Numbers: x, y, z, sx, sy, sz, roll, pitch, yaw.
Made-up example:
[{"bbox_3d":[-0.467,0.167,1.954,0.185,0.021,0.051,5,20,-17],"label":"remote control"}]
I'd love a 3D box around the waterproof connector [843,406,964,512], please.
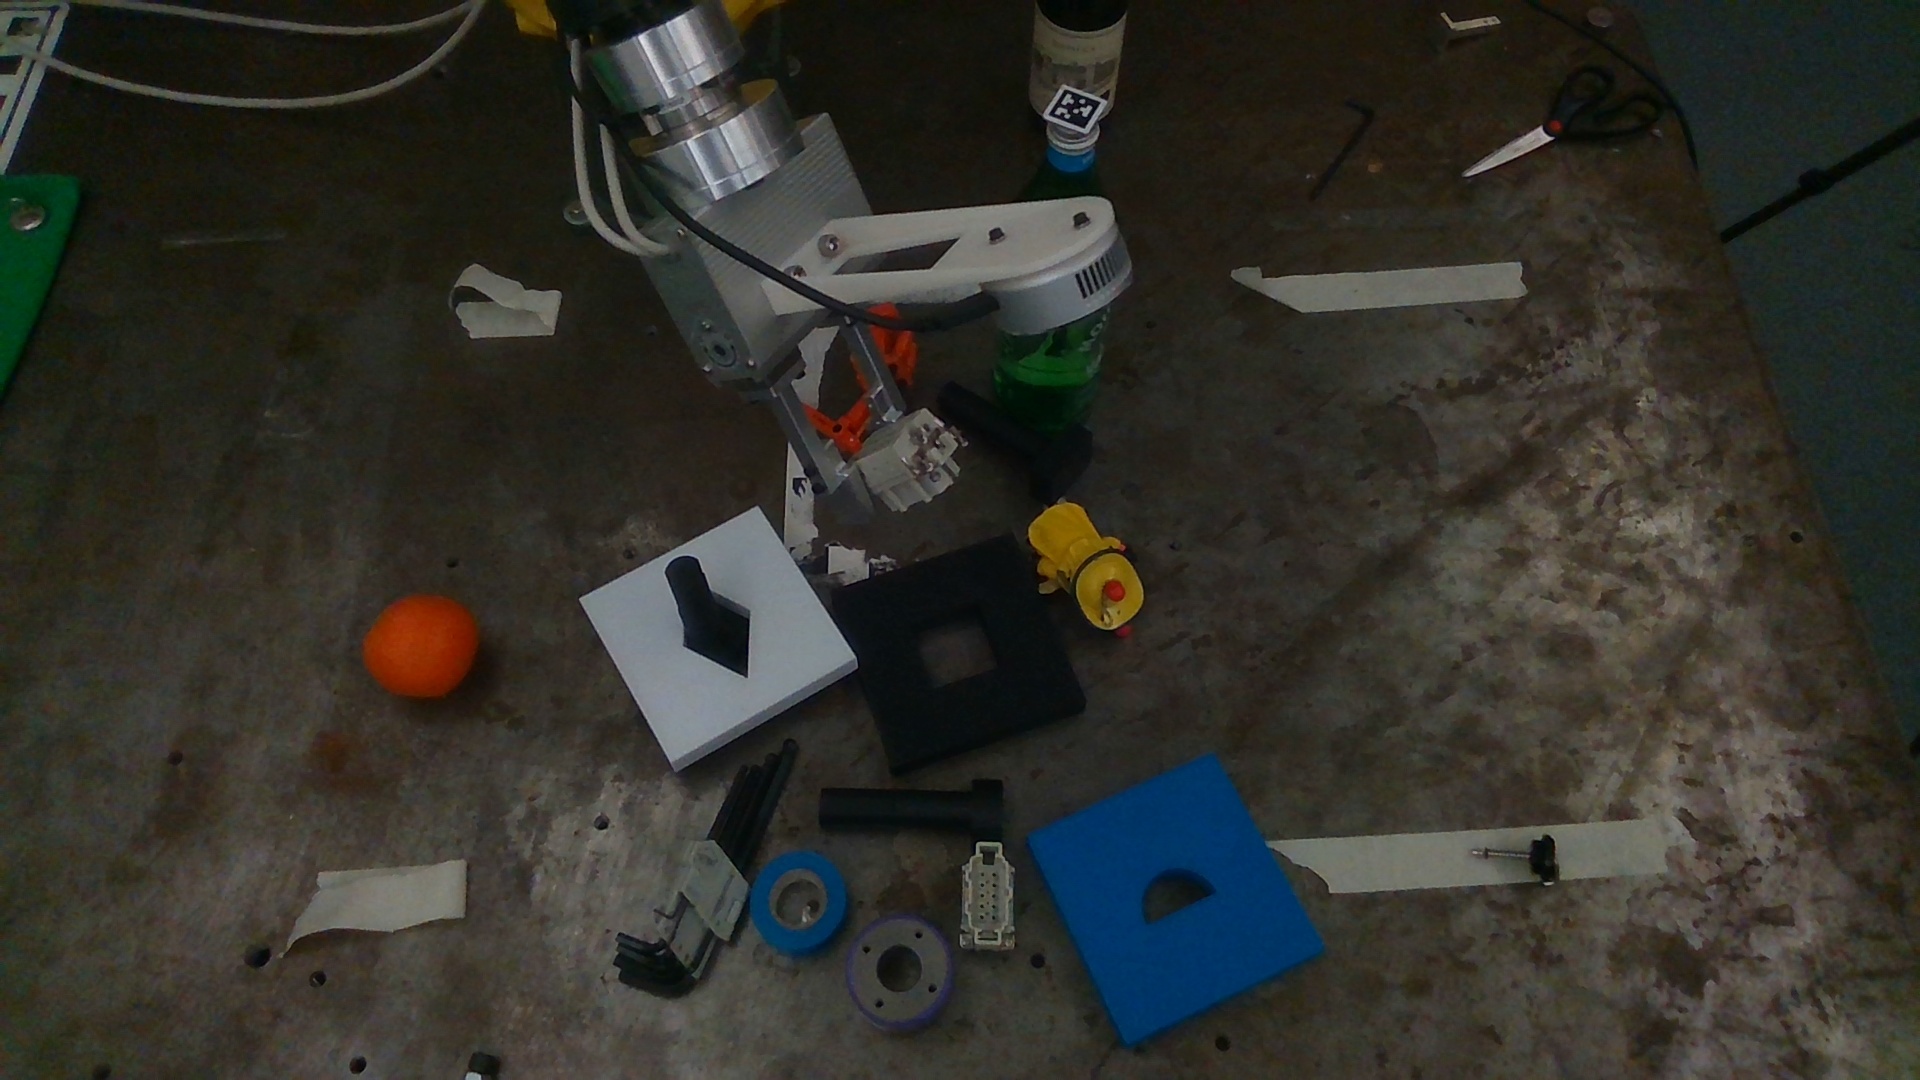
[{"bbox_3d":[-0.028,-0.040,0.722,0.038,0.069,0.036,51,48,-17],"label":"waterproof connector"}]
